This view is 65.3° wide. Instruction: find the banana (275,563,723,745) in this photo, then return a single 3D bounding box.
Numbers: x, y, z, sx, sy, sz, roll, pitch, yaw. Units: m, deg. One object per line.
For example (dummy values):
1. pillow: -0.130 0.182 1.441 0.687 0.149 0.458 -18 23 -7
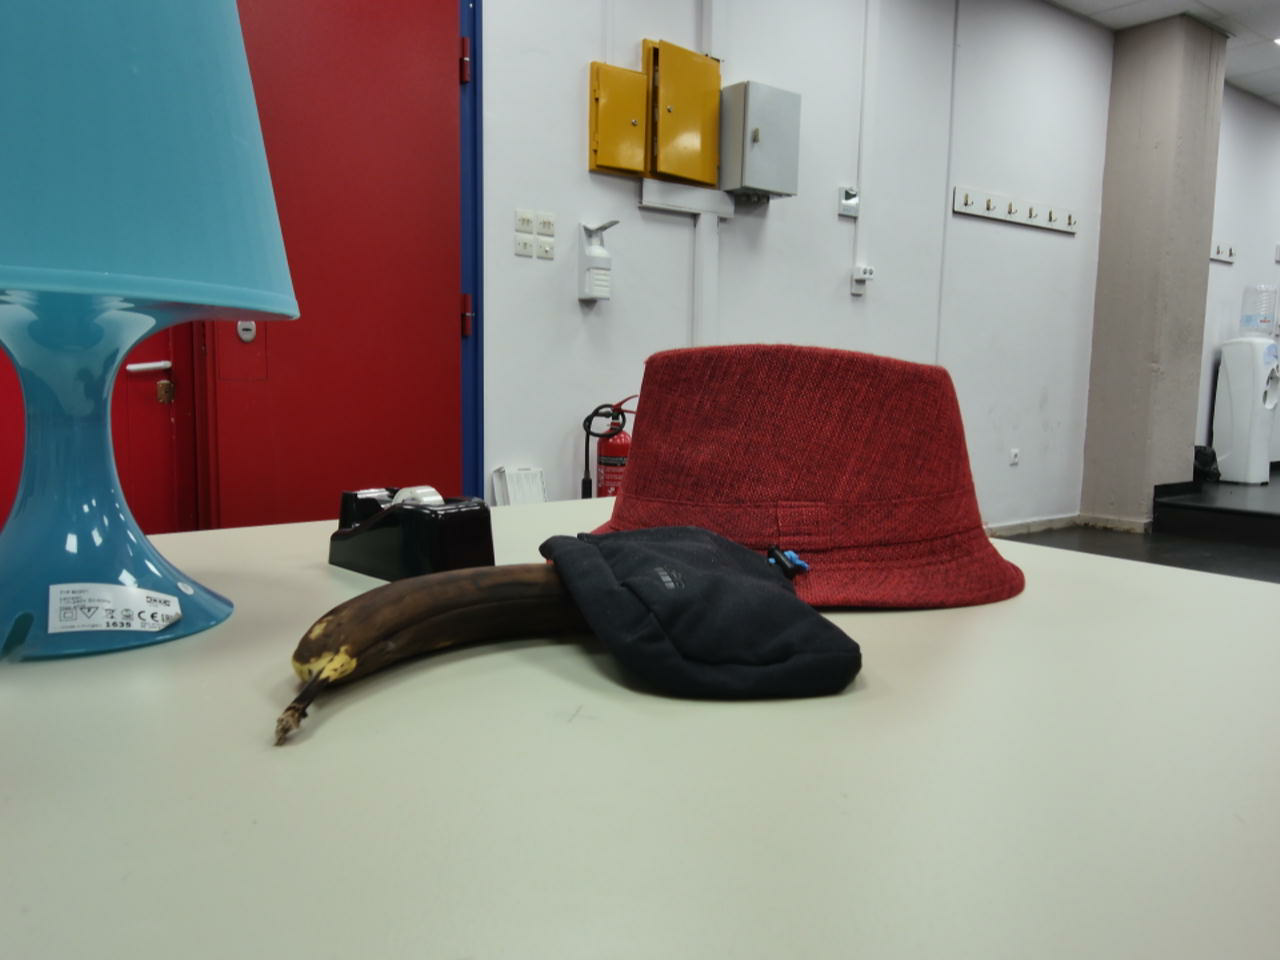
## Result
1. banana: -0.062 0.055 0.398 0.188 0.033 0.091 -3 5 -37
